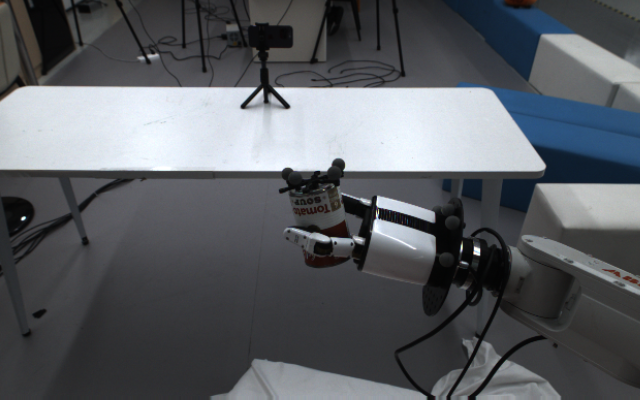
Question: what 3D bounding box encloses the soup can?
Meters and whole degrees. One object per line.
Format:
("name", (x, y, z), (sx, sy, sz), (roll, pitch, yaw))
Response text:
("soup can", (0.004, 0.028, 0.631), (0.067, 0.101, 0.067), (-12, 17, 4))
